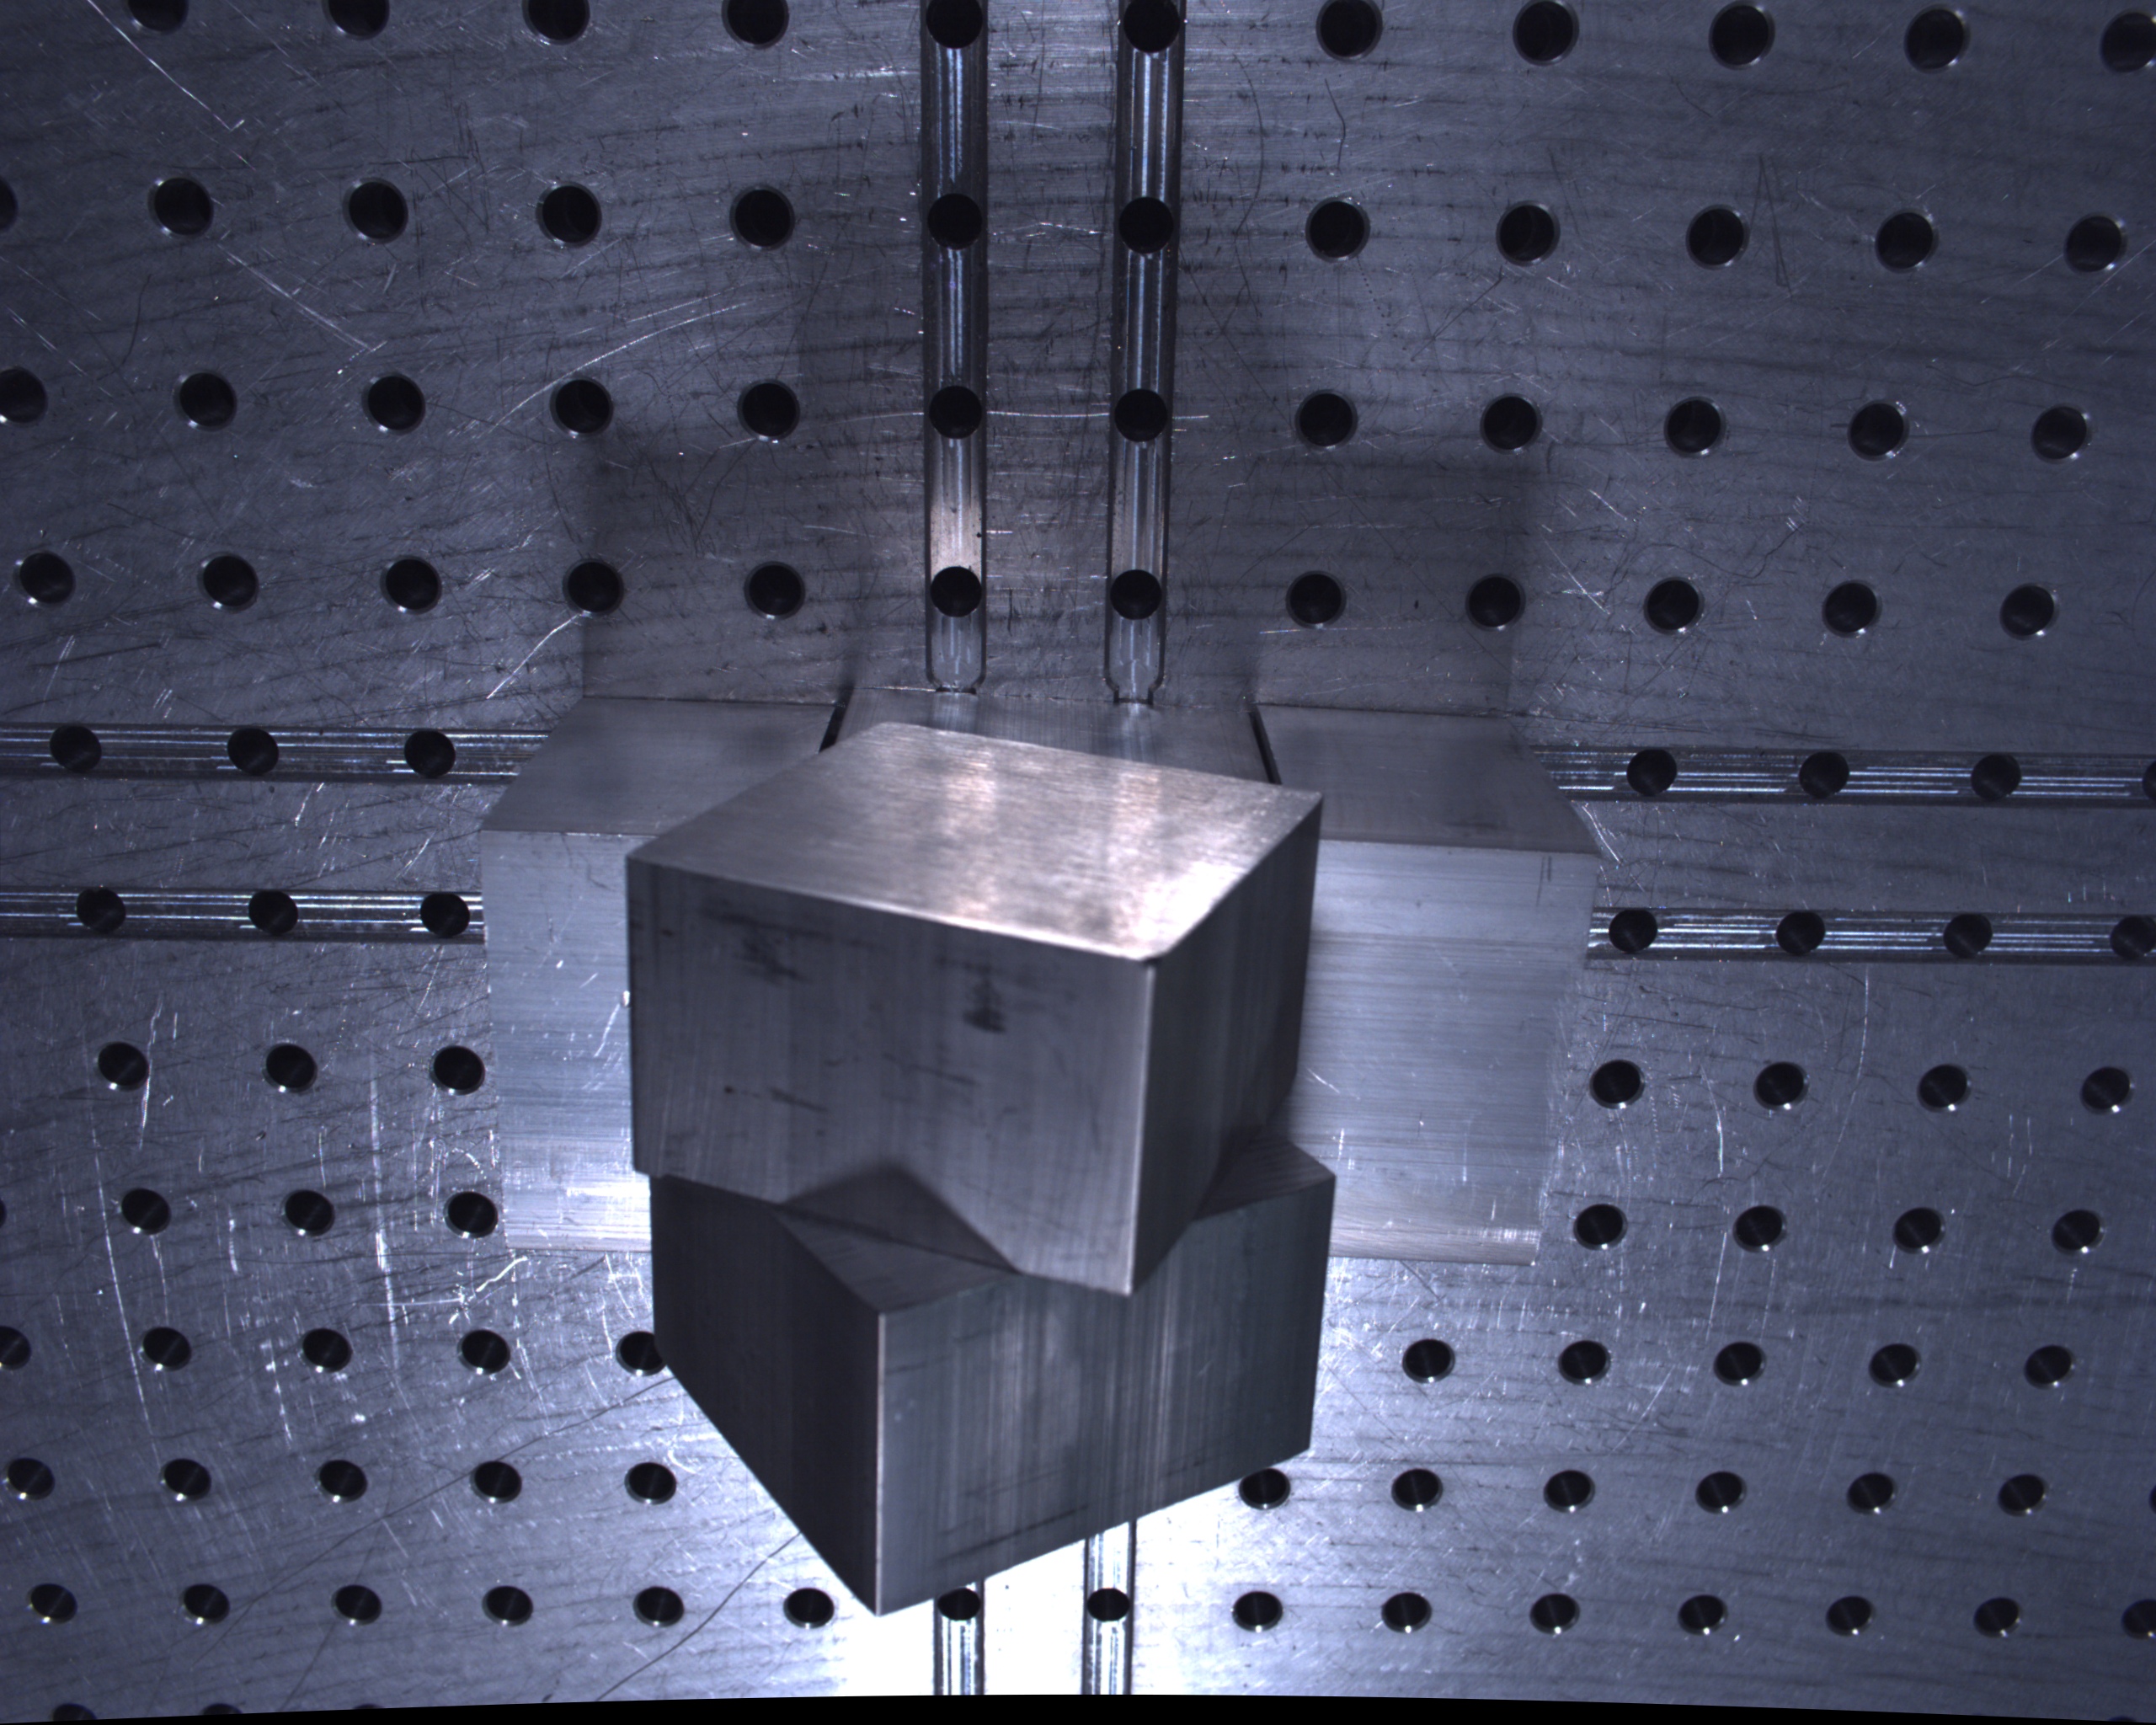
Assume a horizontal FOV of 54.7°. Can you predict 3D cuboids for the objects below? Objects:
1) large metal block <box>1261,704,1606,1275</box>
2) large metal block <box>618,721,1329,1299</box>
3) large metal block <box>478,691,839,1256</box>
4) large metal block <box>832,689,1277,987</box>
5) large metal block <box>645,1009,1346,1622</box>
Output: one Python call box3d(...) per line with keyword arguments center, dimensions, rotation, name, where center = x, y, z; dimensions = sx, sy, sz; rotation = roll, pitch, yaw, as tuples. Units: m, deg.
box3d(center=(0.058, 0.020, 0.392), dimensions=(0.050, 0.080, 0.079), rotation=(4, 110, -2), name="large metal block")
box3d(center=(-0.013, 0.017, 0.322), dimensions=(0.080, 0.080, 0.050), rotation=(11, 111, 20), name="large metal block")
box3d(center=(-0.074, 0.018, 0.390), dimensions=(0.050, 0.080, 0.079), rotation=(2, 110, -1), name="large metal block")
box3d(center=(-0.007, 0.013, 0.403), dimensions=(0.081, 0.050, 0.079), rotation=(2, 110, -2), name="large metal block")
box3d(center=(-0.016, 0.065, 0.337), dimensions=(0.081, 0.080, 0.050), rotation=(-10, 114, -32), name="large metal block")
